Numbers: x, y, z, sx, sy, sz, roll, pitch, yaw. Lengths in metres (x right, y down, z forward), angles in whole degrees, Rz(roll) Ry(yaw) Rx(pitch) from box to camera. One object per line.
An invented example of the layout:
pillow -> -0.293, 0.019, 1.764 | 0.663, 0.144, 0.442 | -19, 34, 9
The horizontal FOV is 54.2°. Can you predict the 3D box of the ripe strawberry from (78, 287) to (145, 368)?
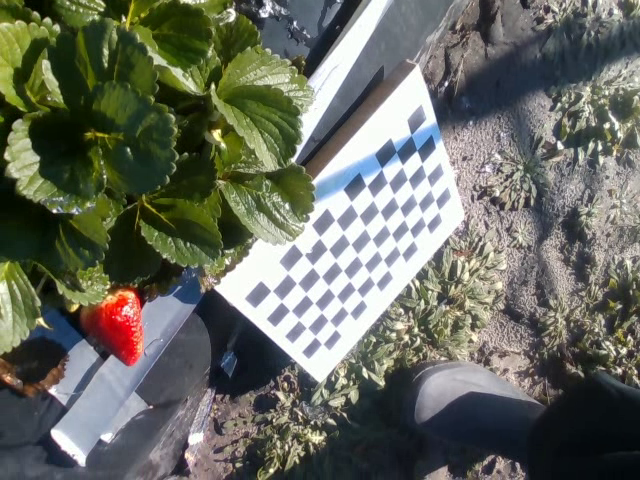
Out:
ripe strawberry -> -0.171, 0.079, 0.545 | 0.061, 0.065, 0.057 | -27, 2, -36
